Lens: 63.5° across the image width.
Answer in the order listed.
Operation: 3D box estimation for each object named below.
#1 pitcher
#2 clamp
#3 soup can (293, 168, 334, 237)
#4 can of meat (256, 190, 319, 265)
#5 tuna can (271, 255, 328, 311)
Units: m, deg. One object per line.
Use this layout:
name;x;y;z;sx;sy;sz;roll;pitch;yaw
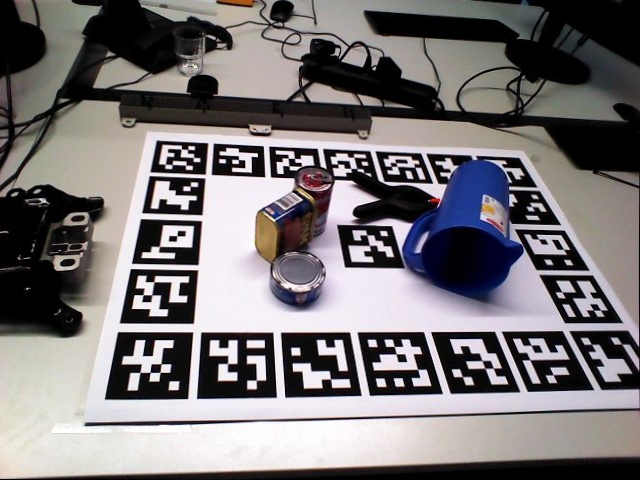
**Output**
pitcher;0.259;-0.032;0.869;0.190;0.133;0.241;0;34;21
clamp;0.130;-0.071;0.972;0.165;0.037;0.121;5;41;-10
soup can;-0.015;-0.062;0.881;0.068;0.102;0.067;3;47;-4
can of meat;-0.054;-0.017;0.824;0.083;0.102;0.058;-31;59;-29
tuna can;-0.033;0.067;0.797;0.086;0.034;0.085;5;47;-5
